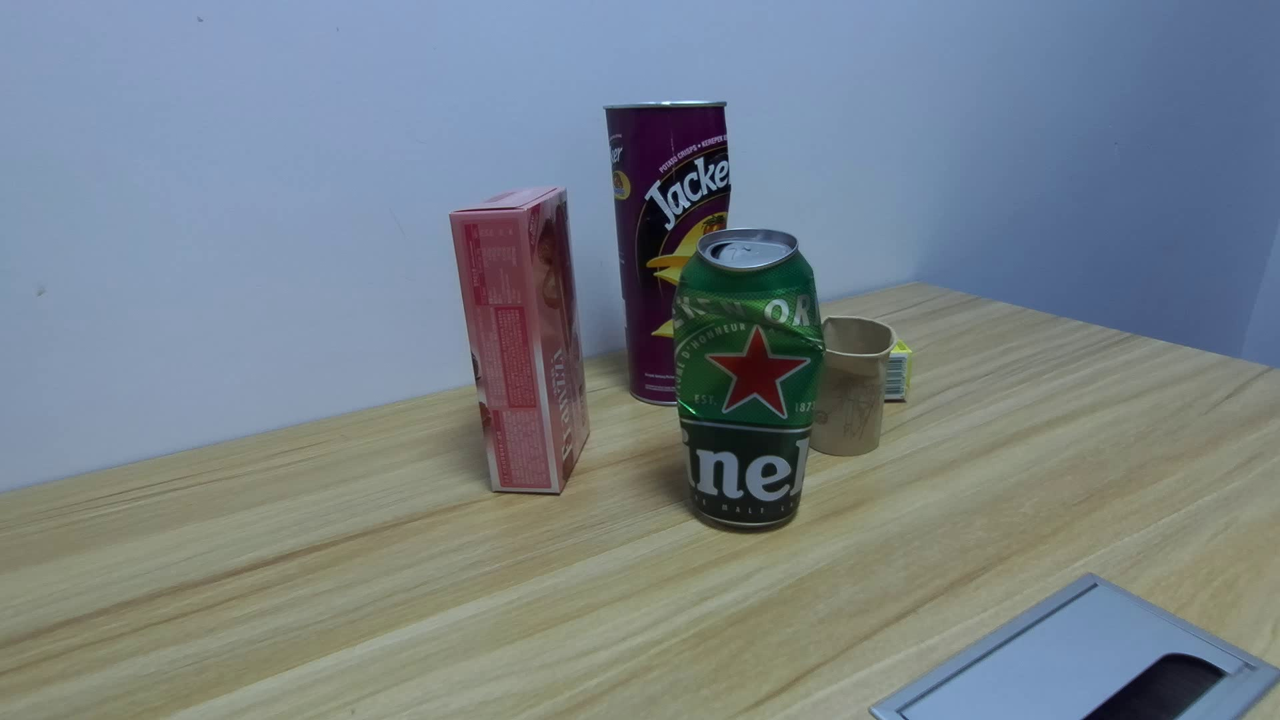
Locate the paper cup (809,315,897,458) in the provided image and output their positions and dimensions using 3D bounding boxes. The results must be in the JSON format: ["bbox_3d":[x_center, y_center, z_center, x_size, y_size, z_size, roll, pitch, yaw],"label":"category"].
[{"bbox_3d":[0.147,0.019,0.499,0.066,0.084,0.072,11,25,34],"label":"paper cup"}]

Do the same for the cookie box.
[{"bbox_3d":[-0.073,-0.014,0.474,0.048,0.185,0.096,-1,21,9],"label":"cookie box"}]

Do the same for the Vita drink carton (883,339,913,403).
[{"bbox_3d":[0.166,0.004,0.600,0.109,0.043,0.066,1,18,7],"label":"Vita drink carton"}]

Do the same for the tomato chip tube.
[{"bbox_3d":[0.025,-0.083,0.569,0.076,0.235,0.077,-11,19,-26],"label":"tomato chip tube"}]

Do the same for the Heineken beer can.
[{"bbox_3d":[0.061,0.015,0.404,0.069,0.168,0.068,-17,27,-27],"label":"Heineken beer can"}]
